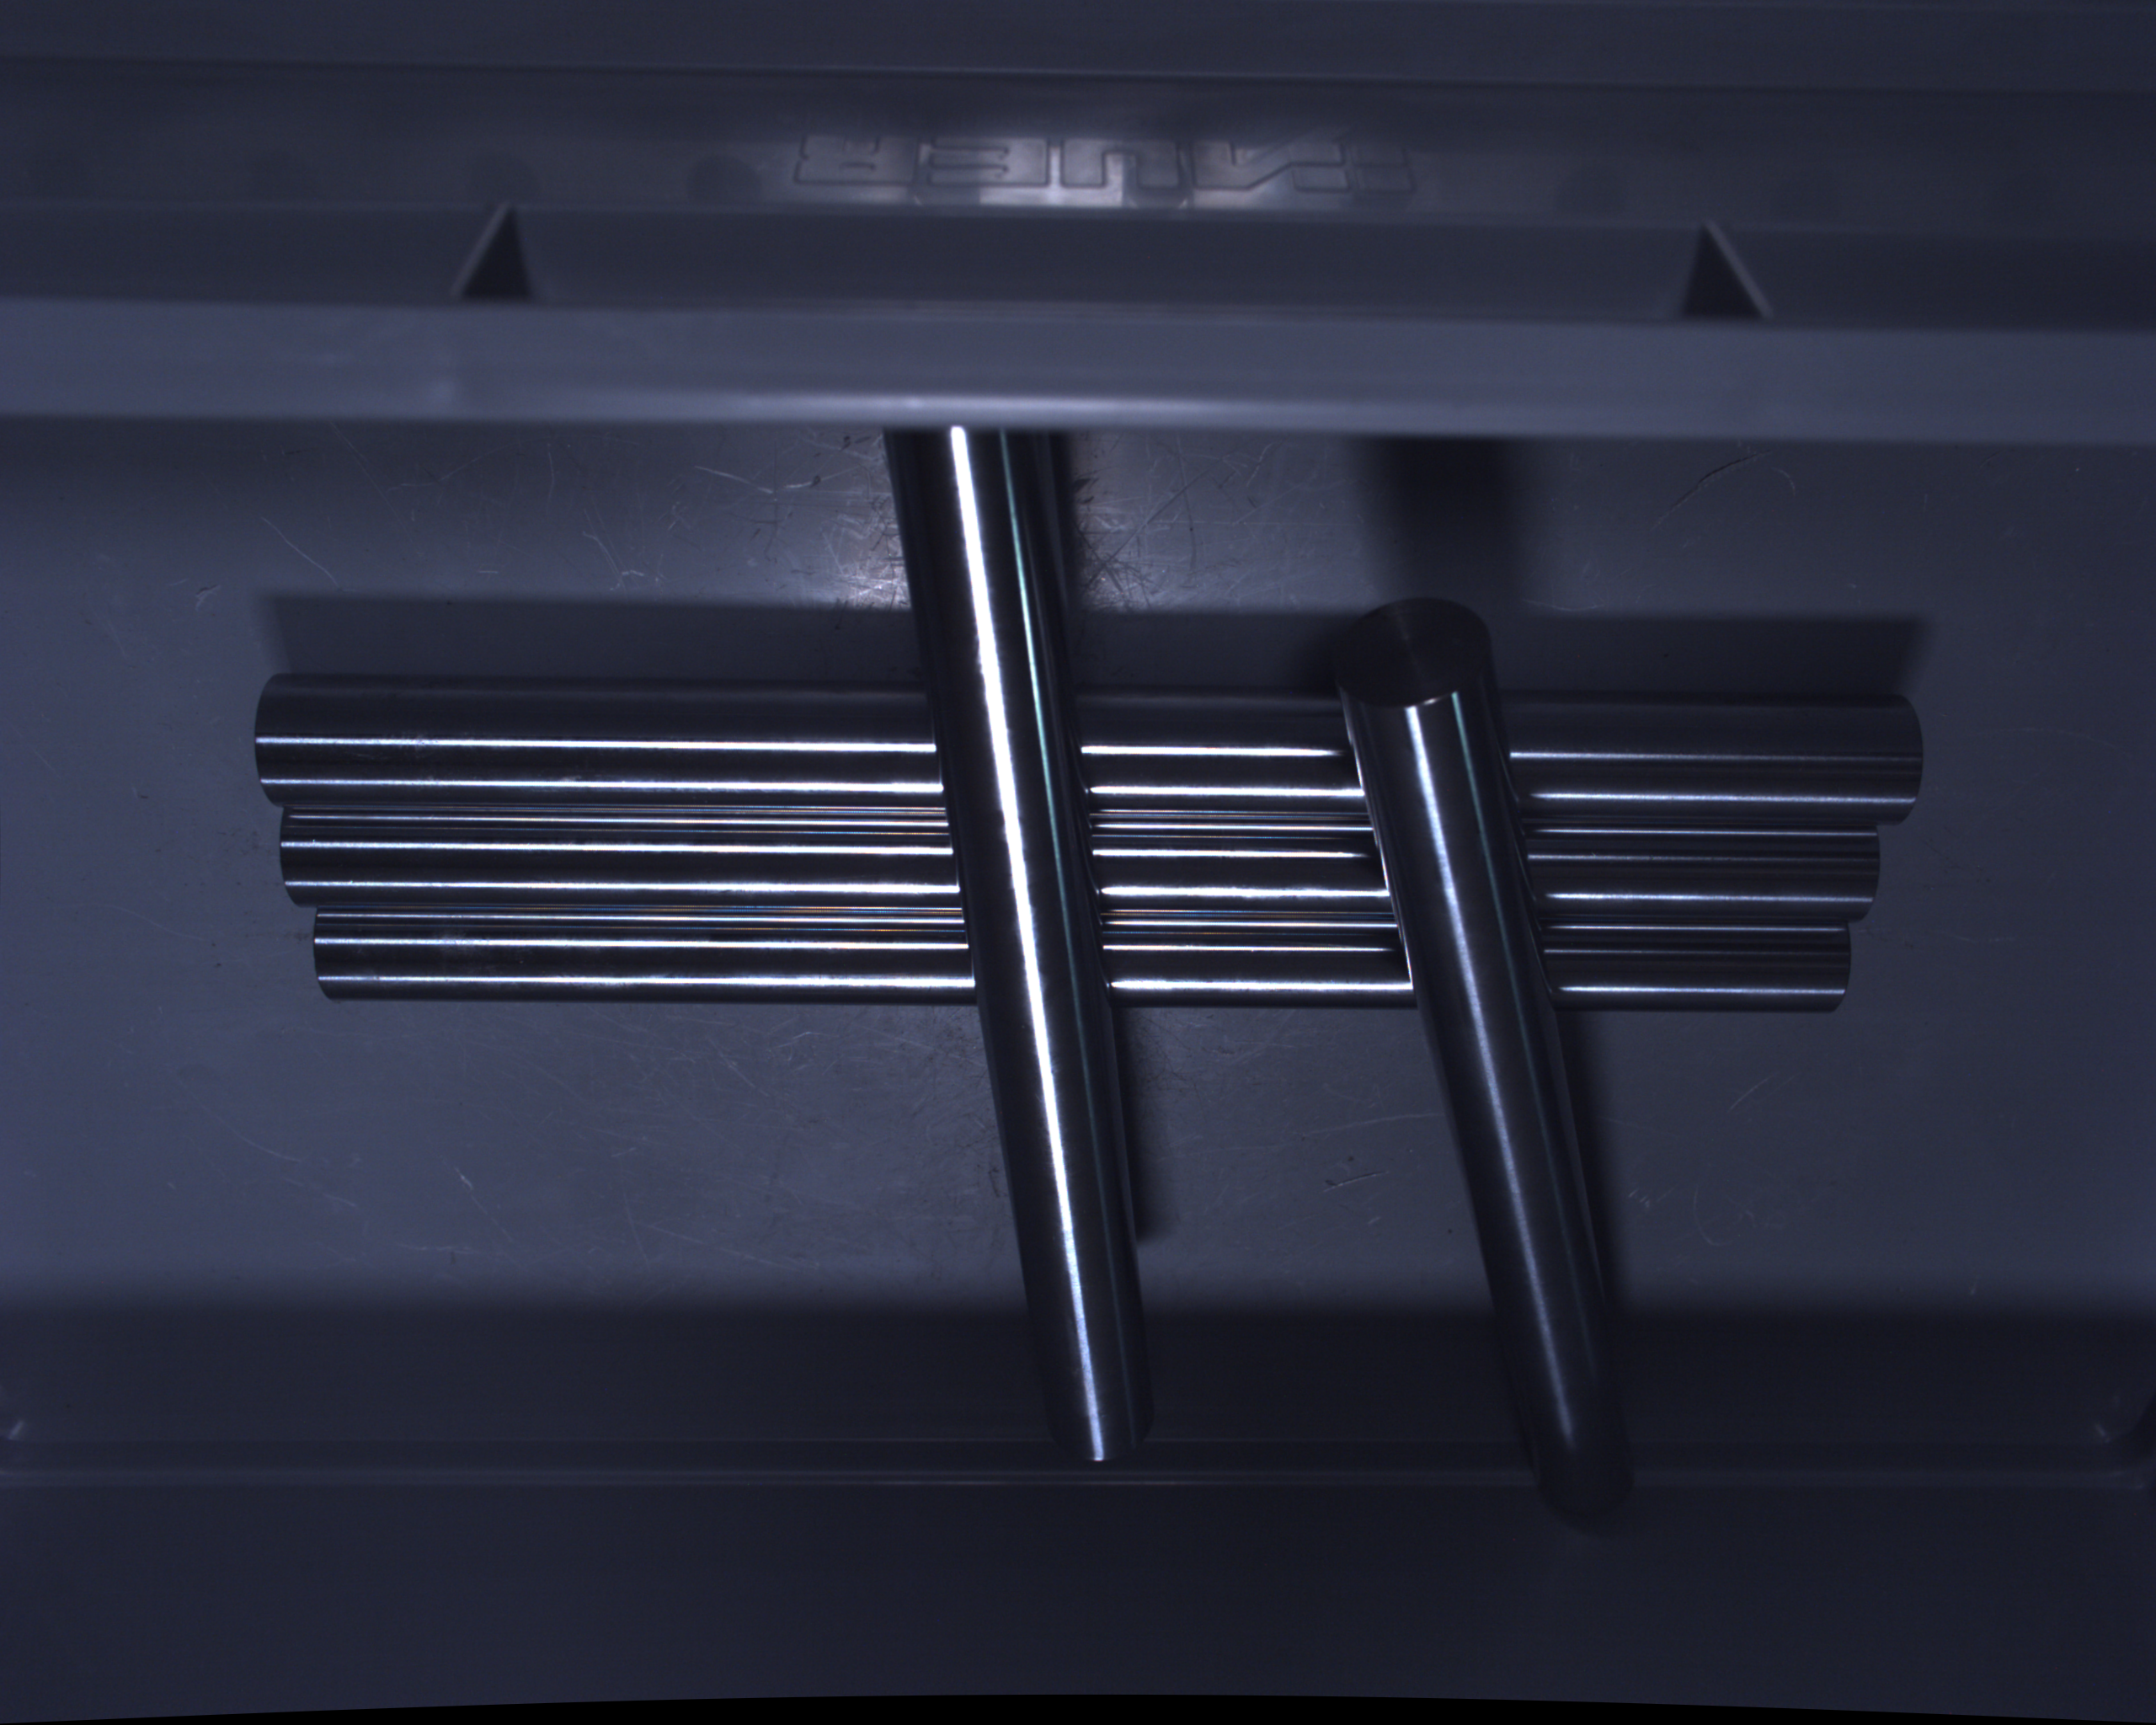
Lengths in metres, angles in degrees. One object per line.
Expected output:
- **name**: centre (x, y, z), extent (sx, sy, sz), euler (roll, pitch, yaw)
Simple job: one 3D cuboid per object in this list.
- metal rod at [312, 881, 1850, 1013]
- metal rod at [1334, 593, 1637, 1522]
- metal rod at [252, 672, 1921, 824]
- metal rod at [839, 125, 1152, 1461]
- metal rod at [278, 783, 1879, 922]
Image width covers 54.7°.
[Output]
- **metal rod**: centre (0.002, 0.017, 0.422), extent (0.302, 0.025, 0.025), euler (1, 130, -1)
- **metal rod**: centre (0.093, 0.063, 0.436), extent (0.025, 0.025, 0.299), euler (-12, 136, 10)
- **metal rod**: centre (0.003, -0.021, 0.389), extent (0.302, 0.025, 0.025), euler (1, 130, -1)
- **metal rod**: centre (-0.008, 0.015, 0.387), extent (0.025, 0.025, 0.298), euler (-4, 130, 3)
- **metal rod**: centre (0.001, -0.002, 0.405), extent (0.302, 0.025, 0.025), euler (1, 130, -1)
